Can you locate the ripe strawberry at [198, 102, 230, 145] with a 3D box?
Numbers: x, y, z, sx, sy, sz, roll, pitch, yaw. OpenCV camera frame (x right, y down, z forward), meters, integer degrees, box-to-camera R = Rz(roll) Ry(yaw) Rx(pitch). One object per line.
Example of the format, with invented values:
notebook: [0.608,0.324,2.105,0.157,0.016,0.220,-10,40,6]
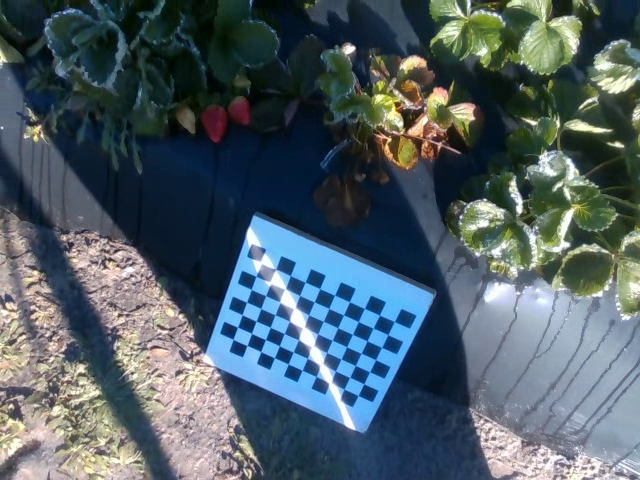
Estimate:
ripe strawberry: [-0.136,-0.146,0.803,0.036,0.052,0.039,-13,-21,16]

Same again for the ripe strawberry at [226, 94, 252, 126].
ripe strawberry: [-0.102,-0.166,0.807,0.036,0.041,0.030,-39,3,22]
